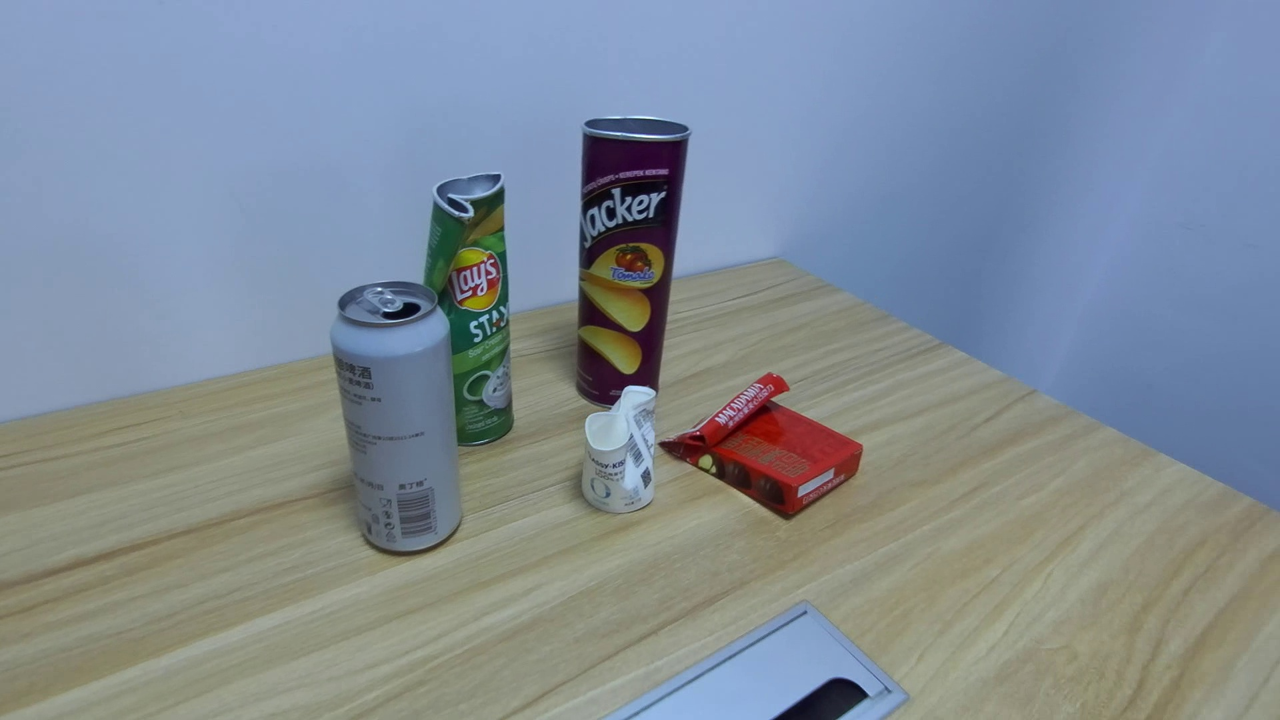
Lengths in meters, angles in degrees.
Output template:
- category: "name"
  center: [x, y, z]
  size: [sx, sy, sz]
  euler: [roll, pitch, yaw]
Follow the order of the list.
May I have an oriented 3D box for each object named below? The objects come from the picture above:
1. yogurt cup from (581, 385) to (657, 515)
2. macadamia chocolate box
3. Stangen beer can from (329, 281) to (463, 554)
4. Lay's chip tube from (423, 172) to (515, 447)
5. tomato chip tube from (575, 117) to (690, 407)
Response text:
- category: "yogurt cup"
  center: [-0.014, 0.067, 0.509]
  size: [0.054, 0.071, 0.075]
  euler: [2, 32, -6]
- category: "macadamia chocolate box"
  center: [0.097, 0.068, 0.564]
  size: [0.112, 0.056, 0.126]
  euler: [-33, 48, -26]
- category: "Stangen beer can"
  center: [-0.150, 0.039, 0.444]
  size: [0.067, 0.171, 0.067]
  euler: [3, 30, -1]
- category: "Lay's chip tube"
  center: [-0.132, -0.035, 0.542]
  size: [0.069, 0.201, 0.077]
  euler: [-4, 33, -17]
- category: "tomato chip tube"
  center: [-0.010, -0.076, 0.592]
  size: [0.080, 0.234, 0.077]
  euler: [15, 31, 17]
